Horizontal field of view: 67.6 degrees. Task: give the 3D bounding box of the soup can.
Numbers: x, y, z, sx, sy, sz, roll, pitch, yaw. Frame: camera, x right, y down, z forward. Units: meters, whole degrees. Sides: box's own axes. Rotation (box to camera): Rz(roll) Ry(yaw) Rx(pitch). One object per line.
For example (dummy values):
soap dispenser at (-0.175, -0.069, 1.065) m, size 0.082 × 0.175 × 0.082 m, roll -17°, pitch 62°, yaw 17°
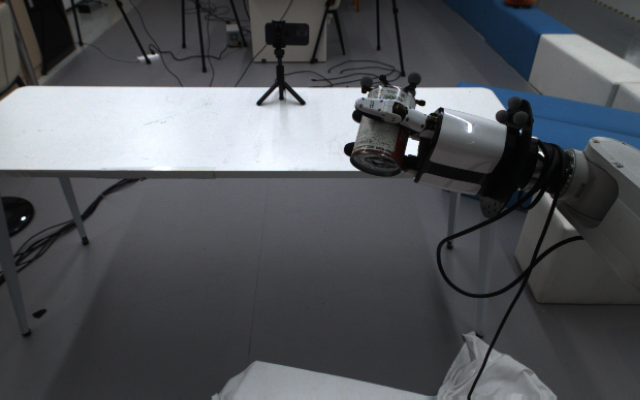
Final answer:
soup can at (0.084, -0.091, 0.639) m, size 0.067 × 0.067 × 0.101 m, roll 11°, pitch 72°, yaw 13°
